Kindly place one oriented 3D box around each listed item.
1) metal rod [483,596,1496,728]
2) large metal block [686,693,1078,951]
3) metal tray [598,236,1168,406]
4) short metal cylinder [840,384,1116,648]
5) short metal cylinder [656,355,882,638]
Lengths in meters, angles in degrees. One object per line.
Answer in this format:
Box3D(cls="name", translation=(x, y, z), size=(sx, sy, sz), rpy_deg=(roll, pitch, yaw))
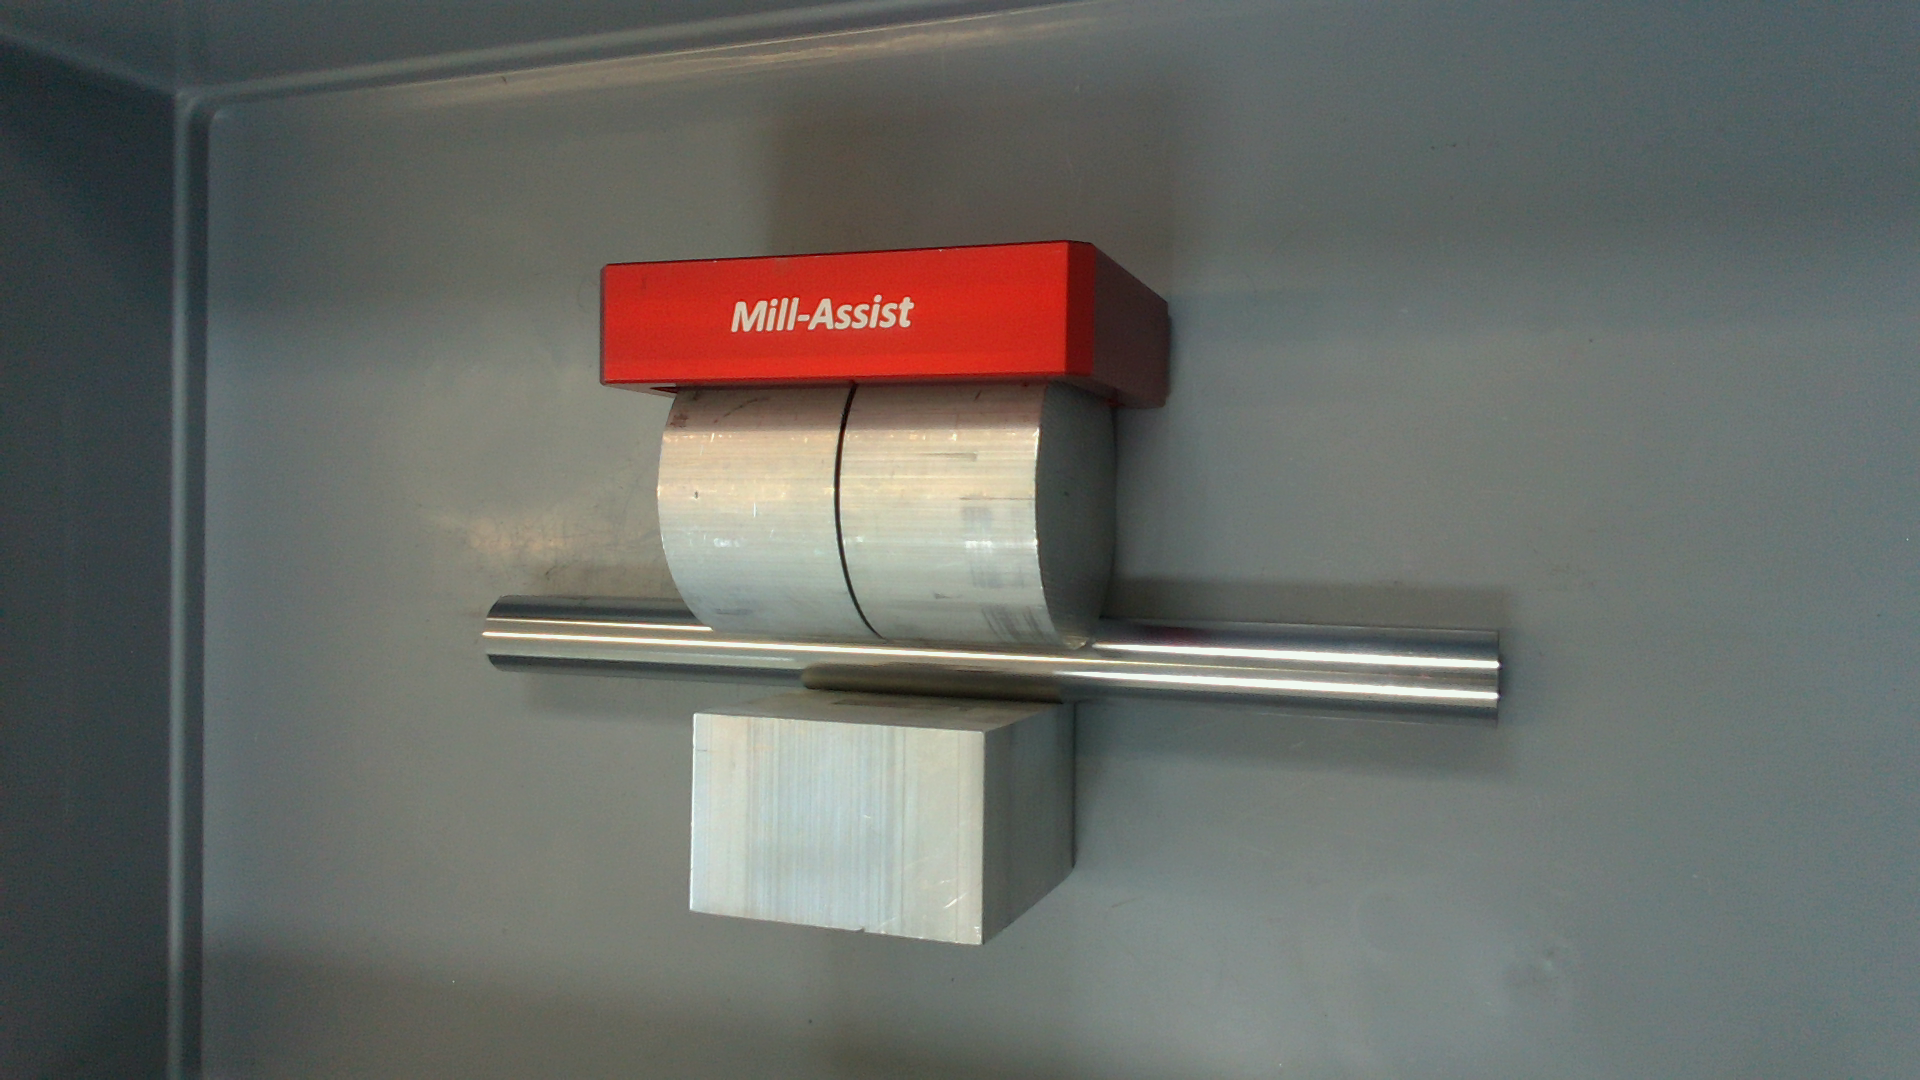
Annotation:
Box3D(cls="metal rod", translation=(-0.006, 0.033, 0.397), size=(0.299, 0.025, 0.025), rpy_deg=(1, 90, 20))
Box3D(cls="large metal block", translation=(-0.018, 0.070, 0.371), size=(0.080, 0.080, 0.050), rpy_deg=(1, 90, 20))
Box3D(cls="metal tray", translation=(-0.017, -0.054, 0.366), size=(0.130, 0.090, 0.030), rpy_deg=(1, 91, 20))
Box3D(cls="short metal cylinder", translation=(0.008, -0.013, 0.363), size=(0.050, 0.080, 0.080), rpy_deg=(2, 91, 20))
Box3D(cls="short metal cylinder", translation=(-0.040, -0.013, 0.381), size=(0.050, 0.080, 0.080), rpy_deg=(1, 90, 20))
